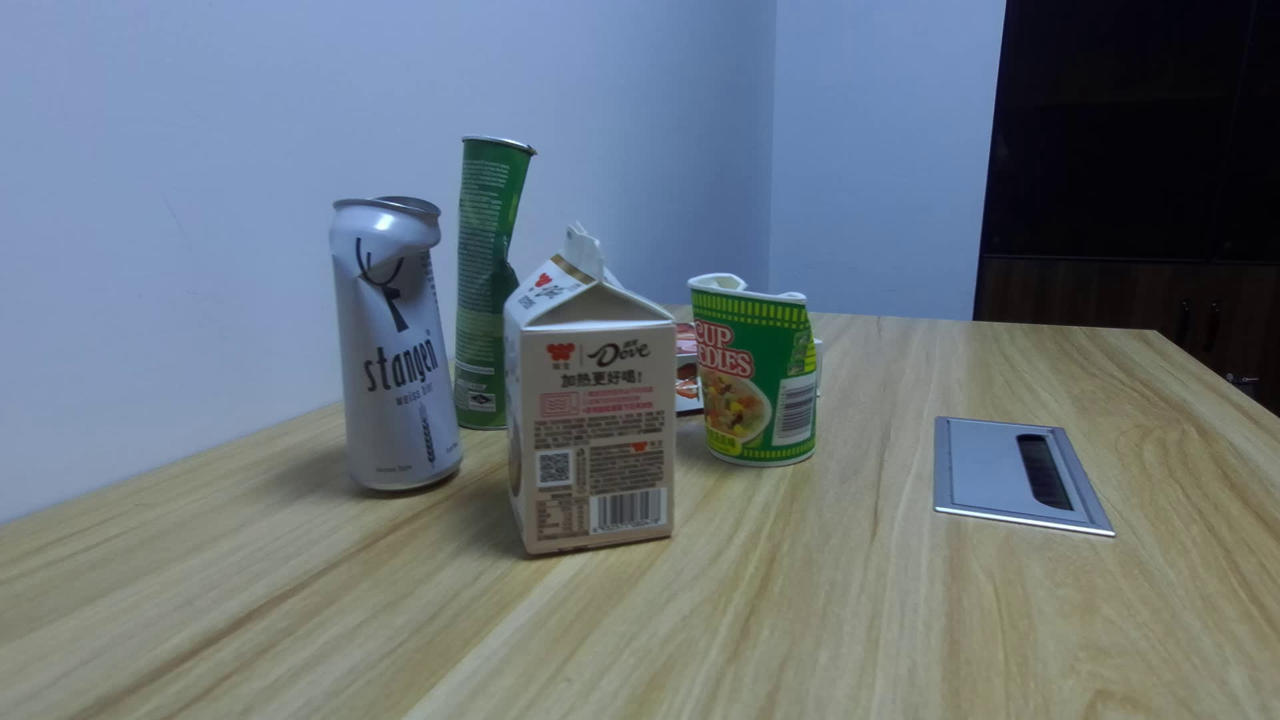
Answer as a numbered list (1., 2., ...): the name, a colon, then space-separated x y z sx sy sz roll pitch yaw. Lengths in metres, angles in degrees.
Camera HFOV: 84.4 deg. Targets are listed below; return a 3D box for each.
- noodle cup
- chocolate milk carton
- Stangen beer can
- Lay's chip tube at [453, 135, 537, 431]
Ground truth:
1. noodle cup: 0.074 0.003 0.441 0.075 0.122 0.083 -4 24 16
2. chocolate milk carton: -0.027 0.008 0.349 0.074 0.148 0.075 -4 14 -16
3. Stangen beer can: -0.138 -0.008 0.401 0.066 0.162 0.076 -10 18 -31
4. Lay's chip tube: -0.105 -0.054 0.504 0.077 0.201 0.069 8 15 25
